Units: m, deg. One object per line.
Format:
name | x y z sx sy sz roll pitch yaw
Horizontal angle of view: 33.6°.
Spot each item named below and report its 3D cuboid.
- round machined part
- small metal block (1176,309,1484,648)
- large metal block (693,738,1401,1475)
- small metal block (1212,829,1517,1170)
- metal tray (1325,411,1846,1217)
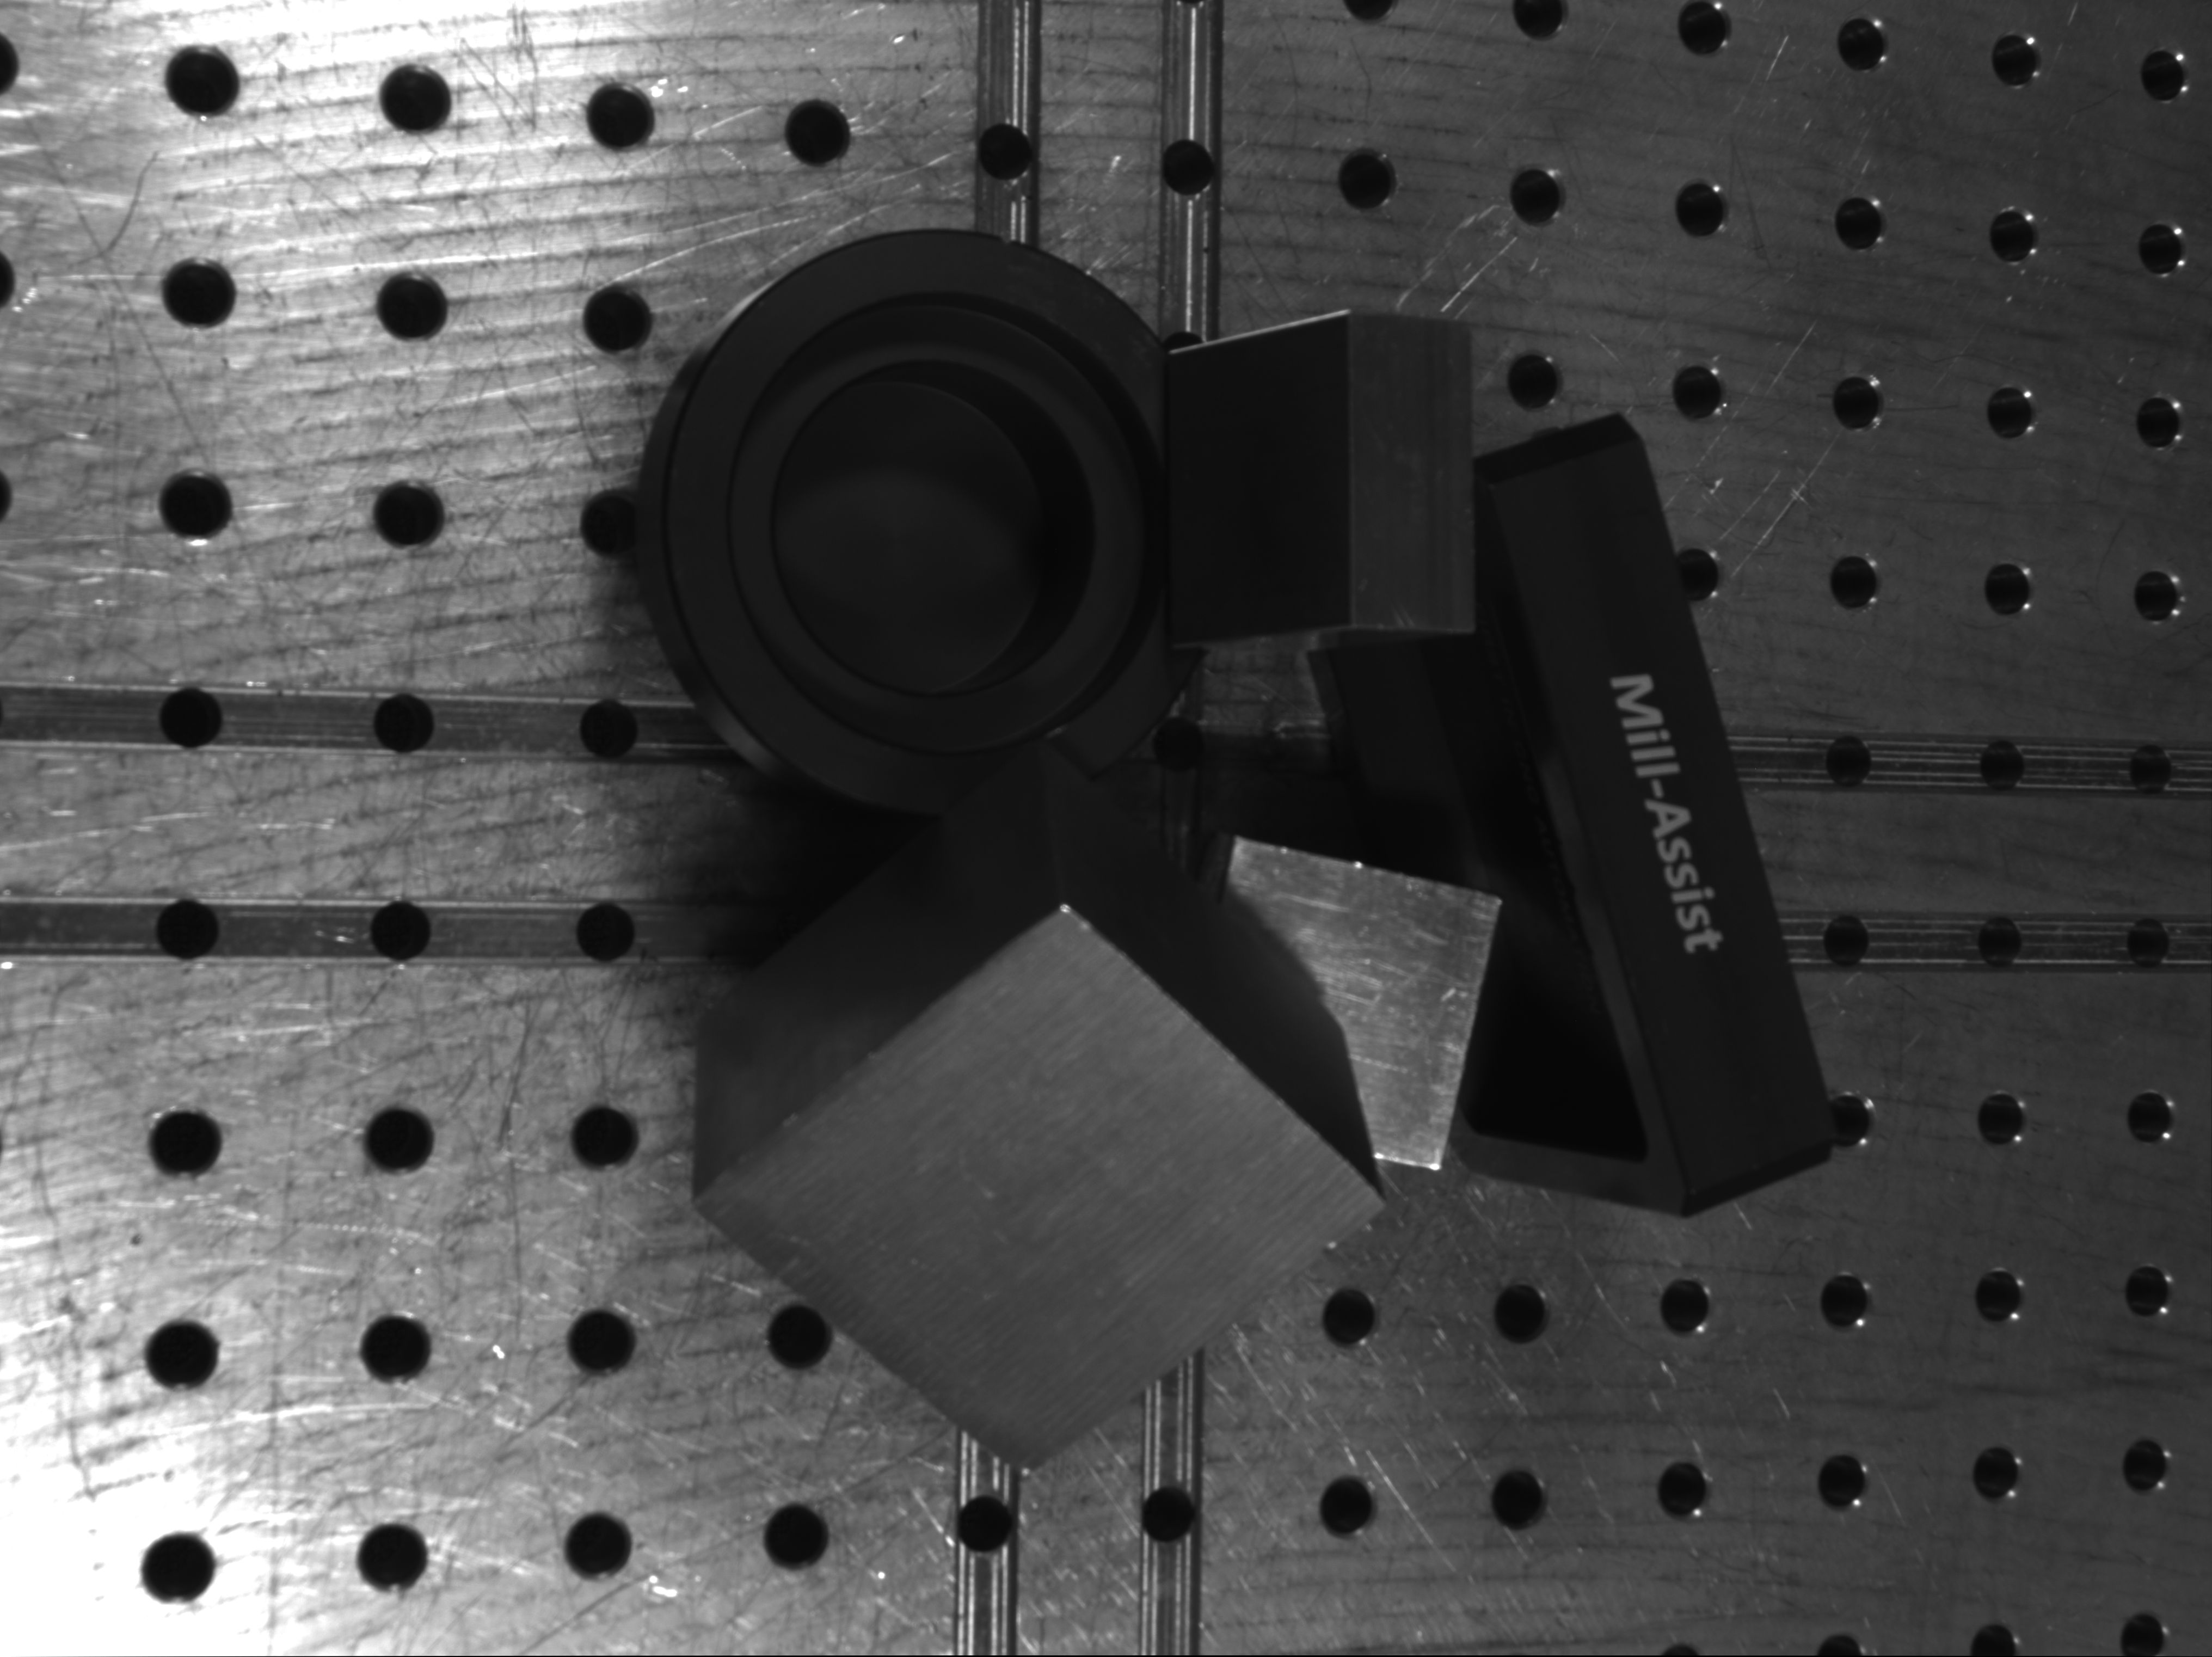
round machined part | -0.031 -0.050 0.625 0.098 0.042 0.098 0 90 -20
small metal block | 0.036 -0.056 0.602 0.025 0.050 0.050 1 88 -34
large metal block | -0.011 0.047 0.604 0.080 0.050 0.080 -39 117 16
small metal block | 0.041 0.030 0.656 0.050 0.025 0.050 12 90 -8
metal tray | 0.078 -0.002 0.640 0.030 0.090 0.130 -19 96 -19
